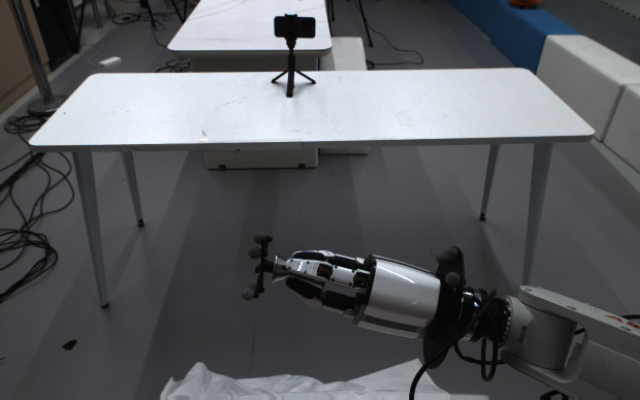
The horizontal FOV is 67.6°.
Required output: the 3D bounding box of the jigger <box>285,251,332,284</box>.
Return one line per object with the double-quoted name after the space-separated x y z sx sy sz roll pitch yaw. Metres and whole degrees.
-0.019 0.091 0.637 0.071 0.043 0.043 8 35 1 "jigger"
